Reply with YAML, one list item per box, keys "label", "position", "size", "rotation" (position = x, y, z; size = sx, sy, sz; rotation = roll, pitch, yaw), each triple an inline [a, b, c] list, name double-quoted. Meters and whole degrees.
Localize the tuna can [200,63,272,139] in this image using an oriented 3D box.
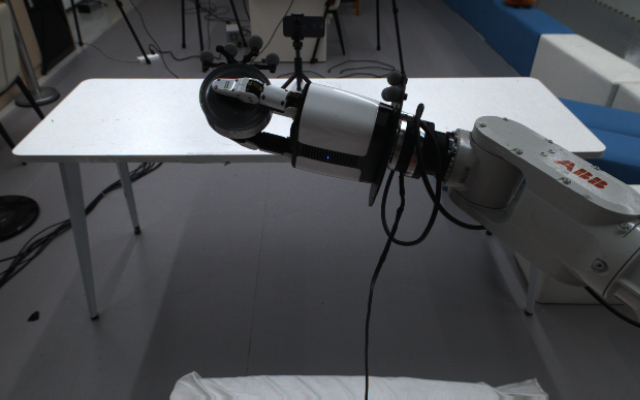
- label: "tuna can"
  position: [-0.096, -0.117, 0.578]
  size: [0.085, 0.034, 0.085]
  rotation: [1, 73, -4]
